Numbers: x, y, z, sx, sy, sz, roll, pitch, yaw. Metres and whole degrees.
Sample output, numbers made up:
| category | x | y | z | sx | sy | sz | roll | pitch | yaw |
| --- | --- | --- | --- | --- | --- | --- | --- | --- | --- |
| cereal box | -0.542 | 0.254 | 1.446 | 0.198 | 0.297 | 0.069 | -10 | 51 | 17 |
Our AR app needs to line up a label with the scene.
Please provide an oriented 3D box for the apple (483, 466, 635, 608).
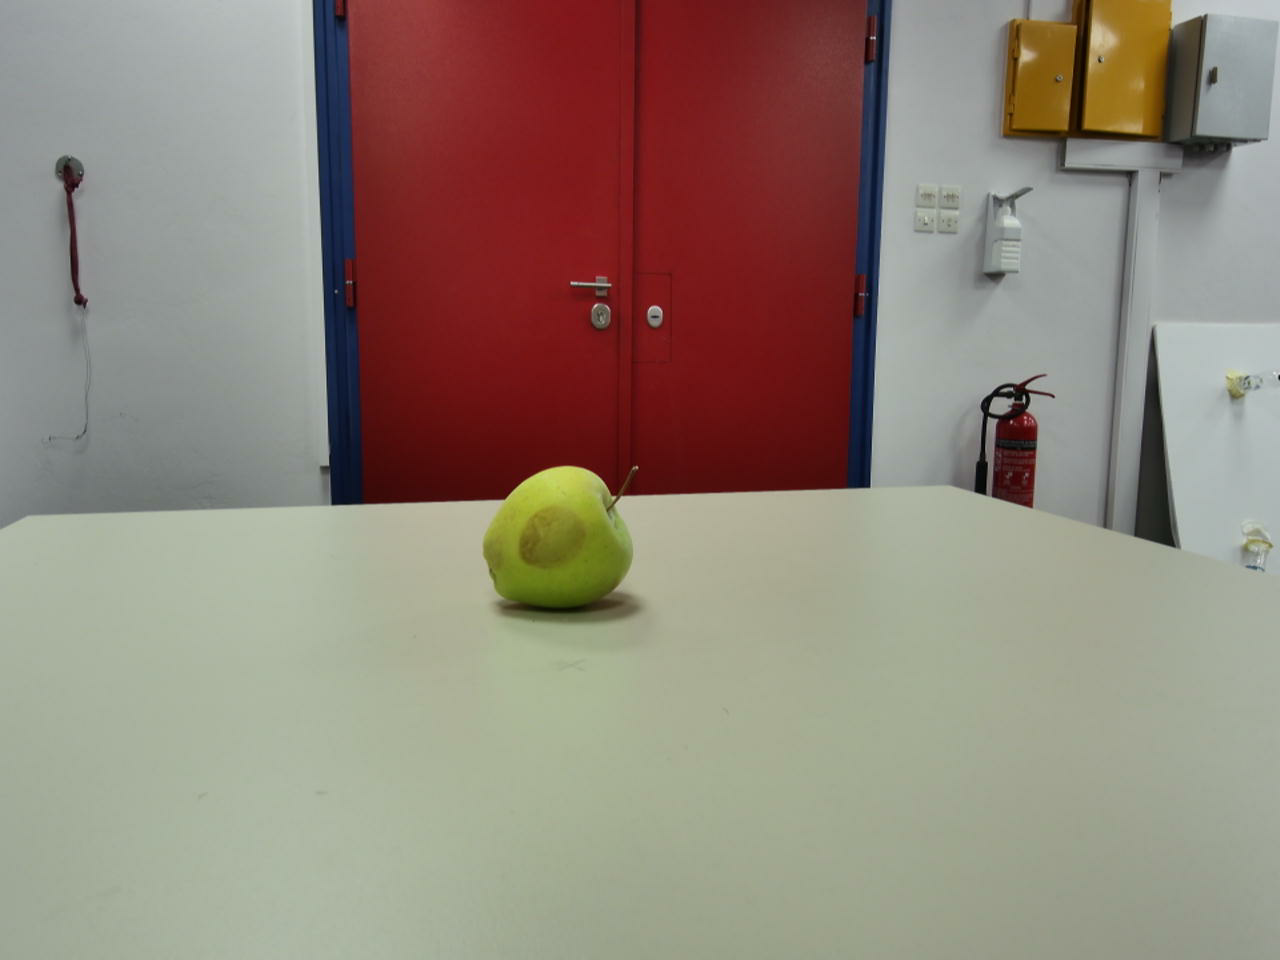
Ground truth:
| category | x | y | z | sx | sy | sz | roll | pitch | yaw |
| --- | --- | --- | --- | --- | --- | --- | --- | --- | --- |
| apple | -0.042 | 0.030 | 0.537 | 0.077 | 0.075 | 0.072 | 5 | 8 | 31 |
